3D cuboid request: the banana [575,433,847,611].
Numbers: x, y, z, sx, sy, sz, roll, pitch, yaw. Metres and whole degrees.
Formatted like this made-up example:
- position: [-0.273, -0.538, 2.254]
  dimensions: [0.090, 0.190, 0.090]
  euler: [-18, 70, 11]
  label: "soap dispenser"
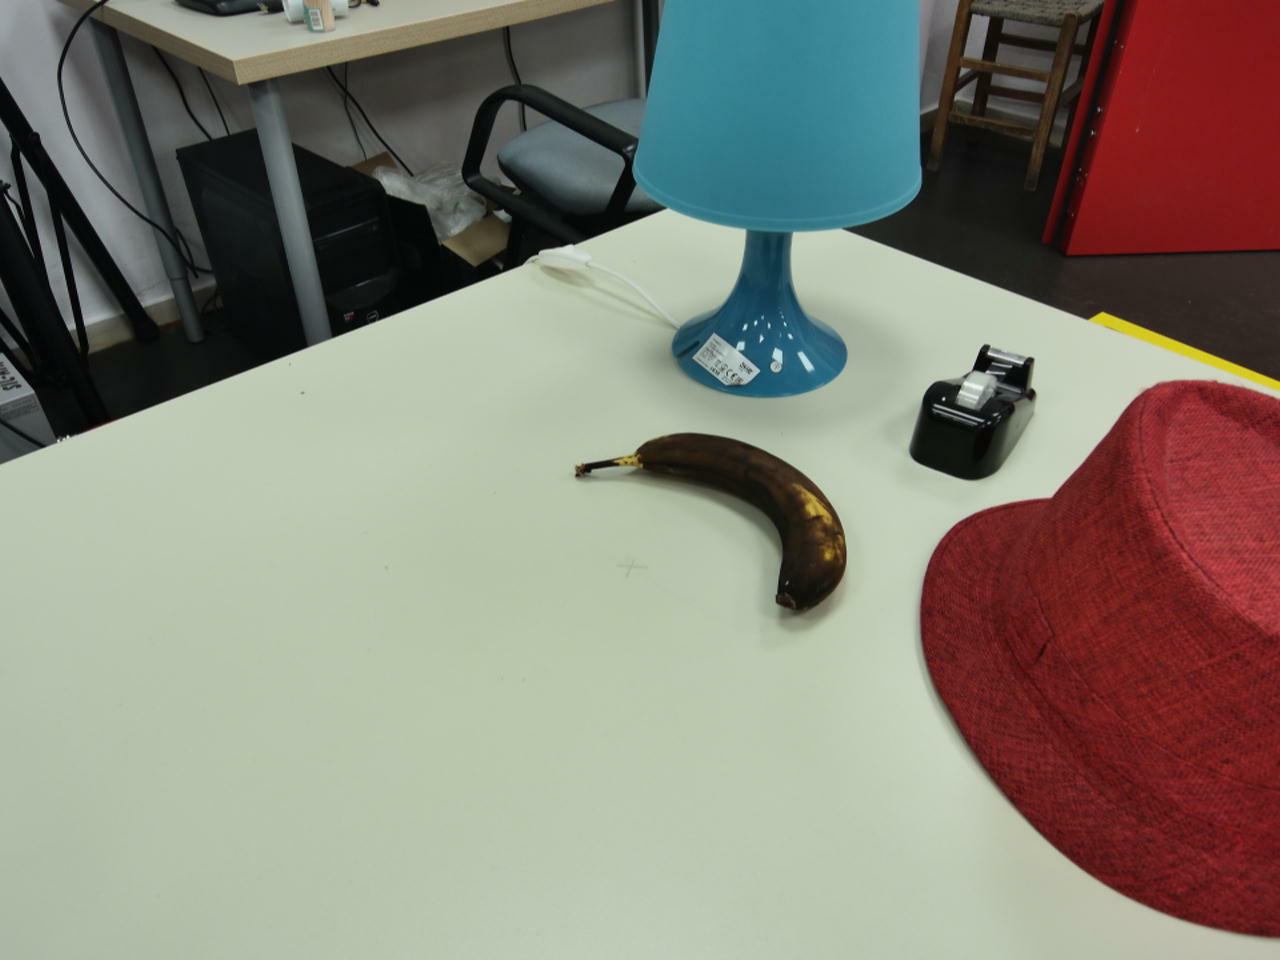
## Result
- position: [0.053, 0.009, 0.596]
  dimensions: [0.091, 0.034, 0.188]
  euler: [-28, 44, -31]
  label: "banana"
